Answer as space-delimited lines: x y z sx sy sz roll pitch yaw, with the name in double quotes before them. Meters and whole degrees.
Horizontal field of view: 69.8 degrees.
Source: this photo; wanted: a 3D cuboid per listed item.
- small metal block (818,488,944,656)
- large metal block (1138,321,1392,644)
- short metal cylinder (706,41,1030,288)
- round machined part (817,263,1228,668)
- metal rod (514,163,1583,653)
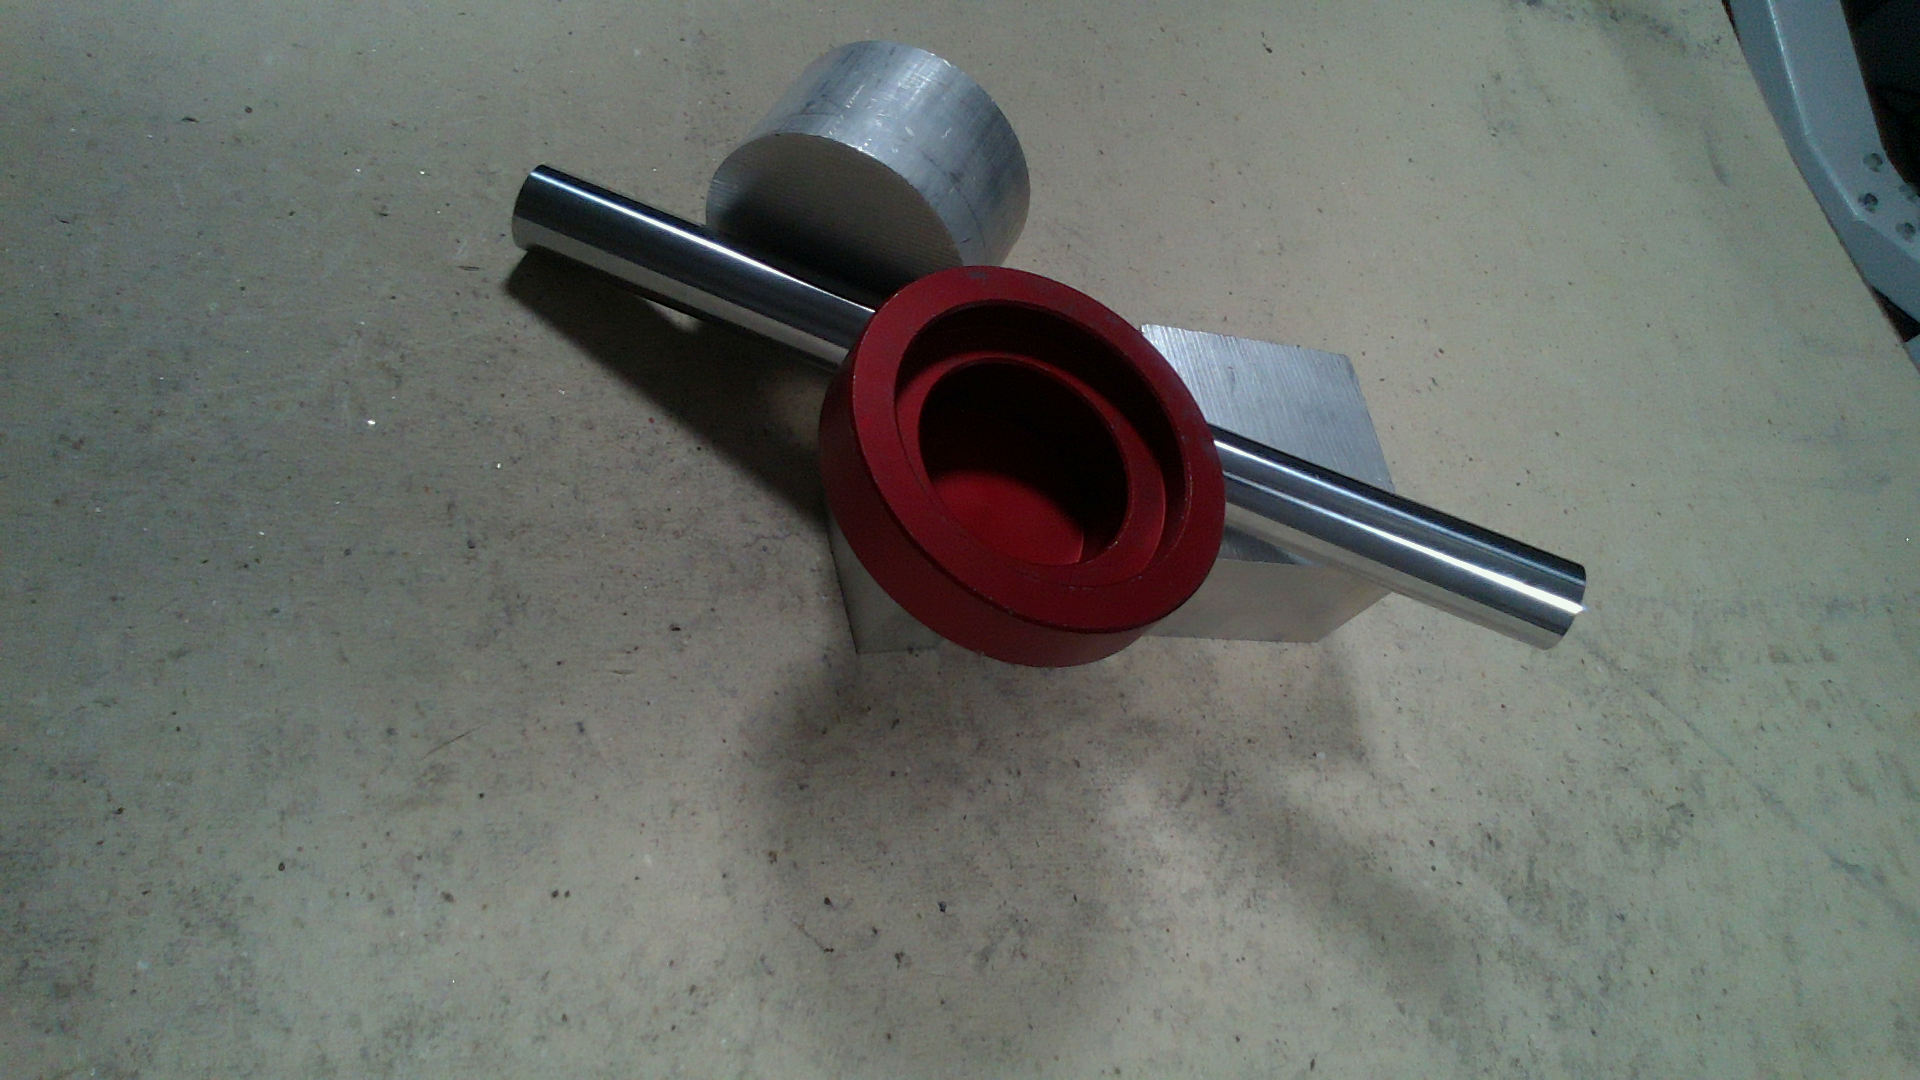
"small metal block" -0.013 -0.003 0.369 0.025 0.050 0.050 -2 63 -29
"large metal block" 0.086 -0.016 0.430 0.080 0.050 0.080 4 60 -26
"short metal cylinder" -0.026 -0.095 0.399 0.080 0.080 0.050 33 51 -7
"round machined part" 0.012 -0.014 0.330 0.098 0.042 0.098 13 57 -21
"metal rod" 0.021 -0.037 0.376 0.300 0.025 0.025 22 52 3
